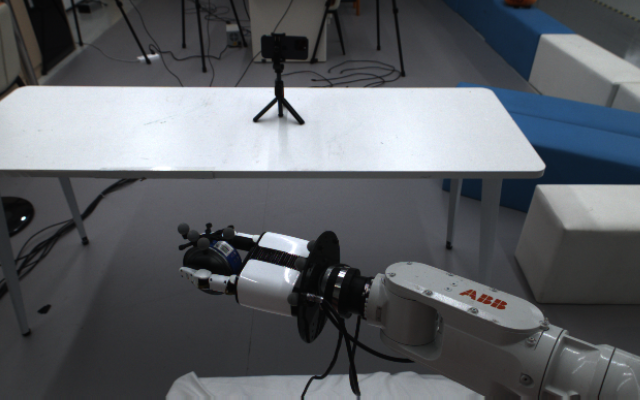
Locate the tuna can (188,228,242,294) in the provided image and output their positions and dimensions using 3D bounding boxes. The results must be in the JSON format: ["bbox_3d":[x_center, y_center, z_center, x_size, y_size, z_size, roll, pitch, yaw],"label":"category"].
[{"bbox_3d":[-0.160,0.099,0.729,0.085,0.085,0.034,15,28,17],"label":"tuna can"}]
